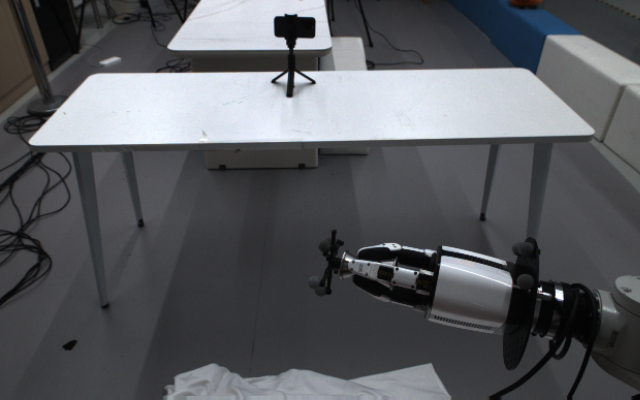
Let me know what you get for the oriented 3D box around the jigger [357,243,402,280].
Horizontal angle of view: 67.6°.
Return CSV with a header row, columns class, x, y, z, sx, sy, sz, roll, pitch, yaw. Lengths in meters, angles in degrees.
class,x,y,z,sx,sy,sz,roll,pitch,yaw
jigger,0.070,0.085,0.624,0.071,0.043,0.043,7,35,16
